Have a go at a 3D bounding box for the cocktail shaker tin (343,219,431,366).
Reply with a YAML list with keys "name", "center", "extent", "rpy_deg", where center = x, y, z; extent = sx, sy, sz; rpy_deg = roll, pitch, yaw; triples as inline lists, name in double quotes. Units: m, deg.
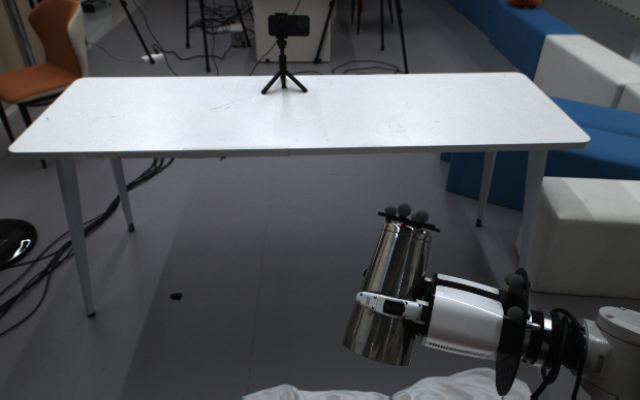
- name: "cocktail shaker tin"
  center: [0.097, 0.119, 0.643]
  extent: [0.093, 0.170, 0.093]
  rpy_deg: [15, -4, 1]
